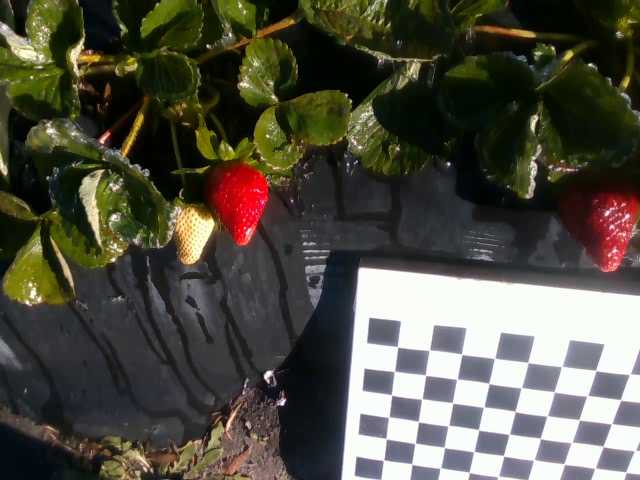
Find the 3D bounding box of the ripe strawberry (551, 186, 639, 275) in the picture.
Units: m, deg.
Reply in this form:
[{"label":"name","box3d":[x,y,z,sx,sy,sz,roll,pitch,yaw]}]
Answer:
[{"label":"ripe strawberry","box3d":[0.172,-0.006,0.368,0.048,0.061,0.044,0,-5,9]}]

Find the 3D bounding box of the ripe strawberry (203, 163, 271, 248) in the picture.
[{"label":"ripe strawberry","box3d":[-0.053,-0.020,0.405,0.042,0.061,0.046,-7,-16,13]}]
